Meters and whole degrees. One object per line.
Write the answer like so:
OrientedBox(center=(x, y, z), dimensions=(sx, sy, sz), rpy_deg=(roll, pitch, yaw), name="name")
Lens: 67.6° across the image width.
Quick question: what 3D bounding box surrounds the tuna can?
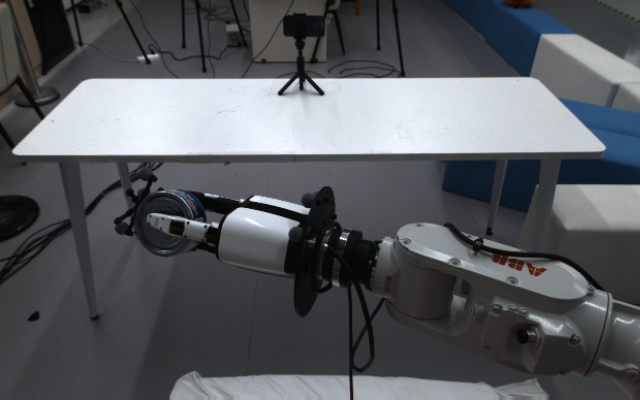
OrientedBox(center=(-0.188, 0.032, 0.619), dimensions=(0.085, 0.085, 0.034), rpy_deg=(8, 7, 9), name="tuna can")
